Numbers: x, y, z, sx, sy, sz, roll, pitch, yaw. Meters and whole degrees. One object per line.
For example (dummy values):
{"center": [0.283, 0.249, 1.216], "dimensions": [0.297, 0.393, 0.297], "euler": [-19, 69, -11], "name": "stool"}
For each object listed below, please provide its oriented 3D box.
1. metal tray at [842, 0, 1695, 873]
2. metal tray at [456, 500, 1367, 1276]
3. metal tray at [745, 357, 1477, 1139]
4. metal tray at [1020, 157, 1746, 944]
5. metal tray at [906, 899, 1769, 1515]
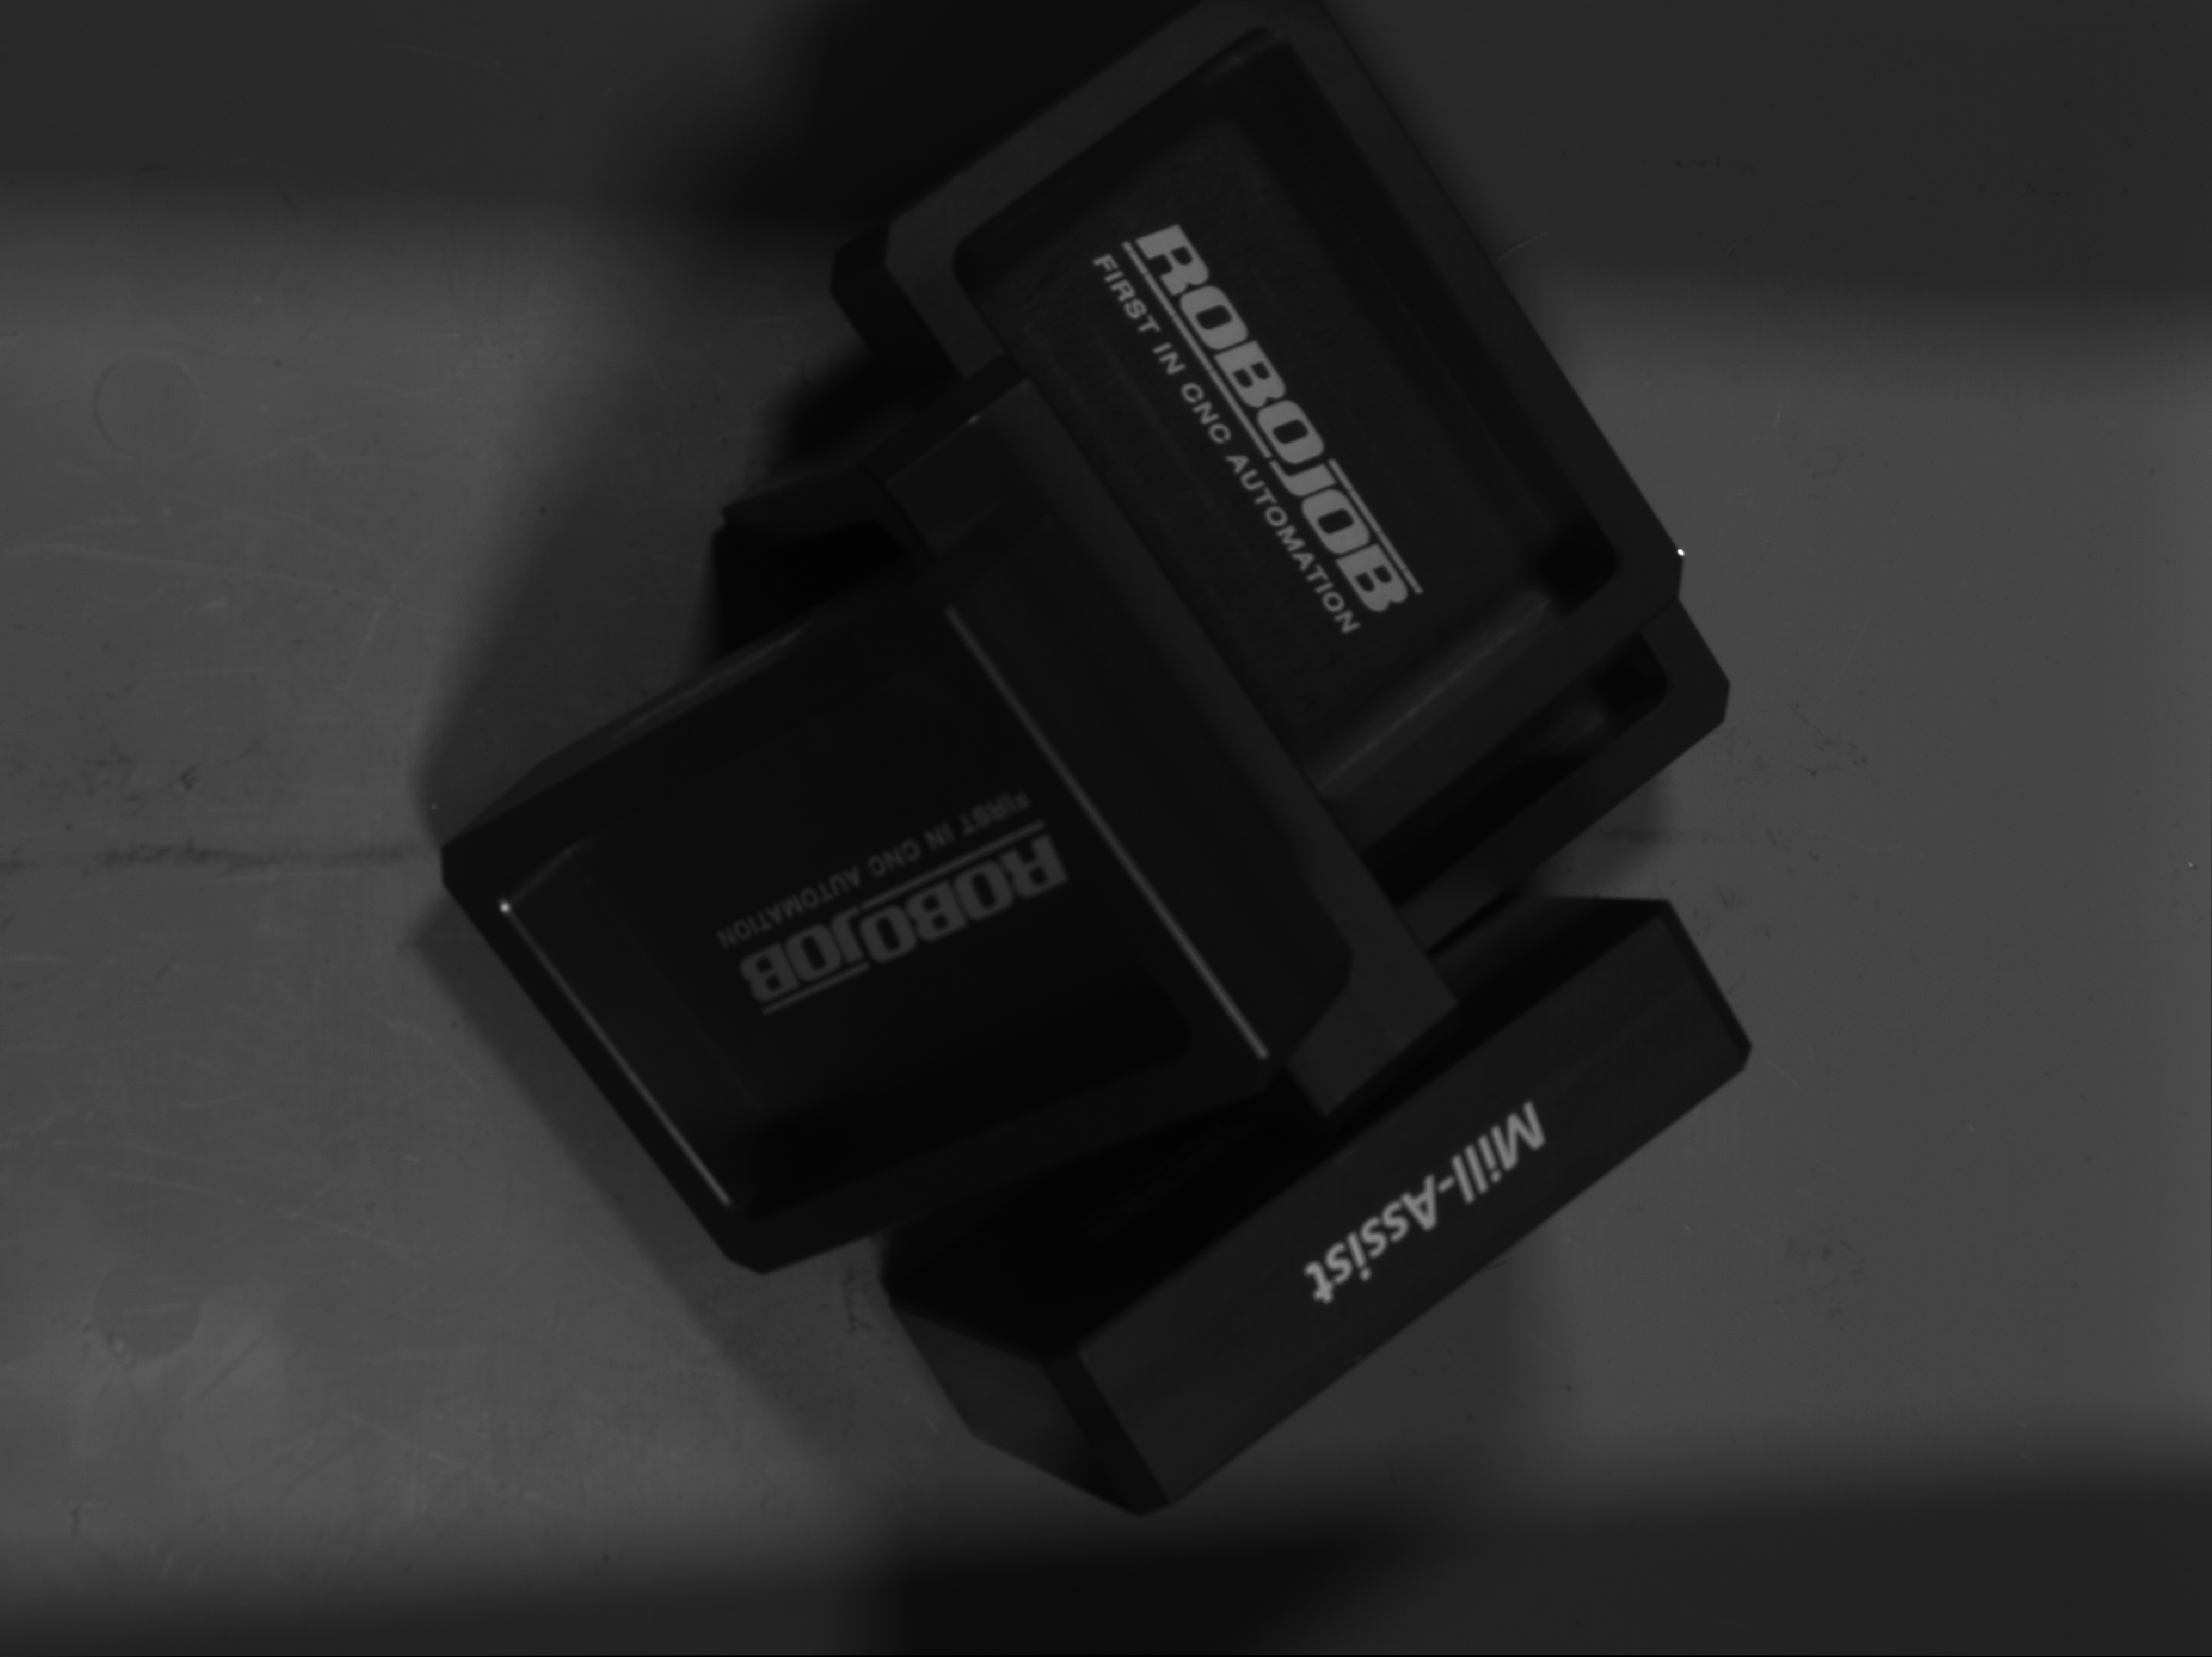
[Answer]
{"center": [0.029, -0.067, 0.618], "dimensions": [0.090, 0.030, 0.130], "euler": [-38, 101, -16], "name": "metal tray"}
{"center": [-0.034, 0.014, 0.576], "dimensions": [0.090, 0.130, 0.030], "euler": [55, 43, -12], "name": "metal tray"}
{"center": [-0.001, -0.011, 0.606], "dimensions": [0.030, 0.090, 0.130], "euler": [-38, 102, -16], "name": "metal tray"}
{"center": [0.045, -0.051, 0.657], "dimensions": [0.090, 0.030, 0.130], "euler": [-35, 100, -15], "name": "metal tray"}
{"center": [0.037, 0.060, 0.621], "dimensions": [0.130, 0.090, 0.030], "euler": [-34, 101, -17], "name": "metal tray"}
